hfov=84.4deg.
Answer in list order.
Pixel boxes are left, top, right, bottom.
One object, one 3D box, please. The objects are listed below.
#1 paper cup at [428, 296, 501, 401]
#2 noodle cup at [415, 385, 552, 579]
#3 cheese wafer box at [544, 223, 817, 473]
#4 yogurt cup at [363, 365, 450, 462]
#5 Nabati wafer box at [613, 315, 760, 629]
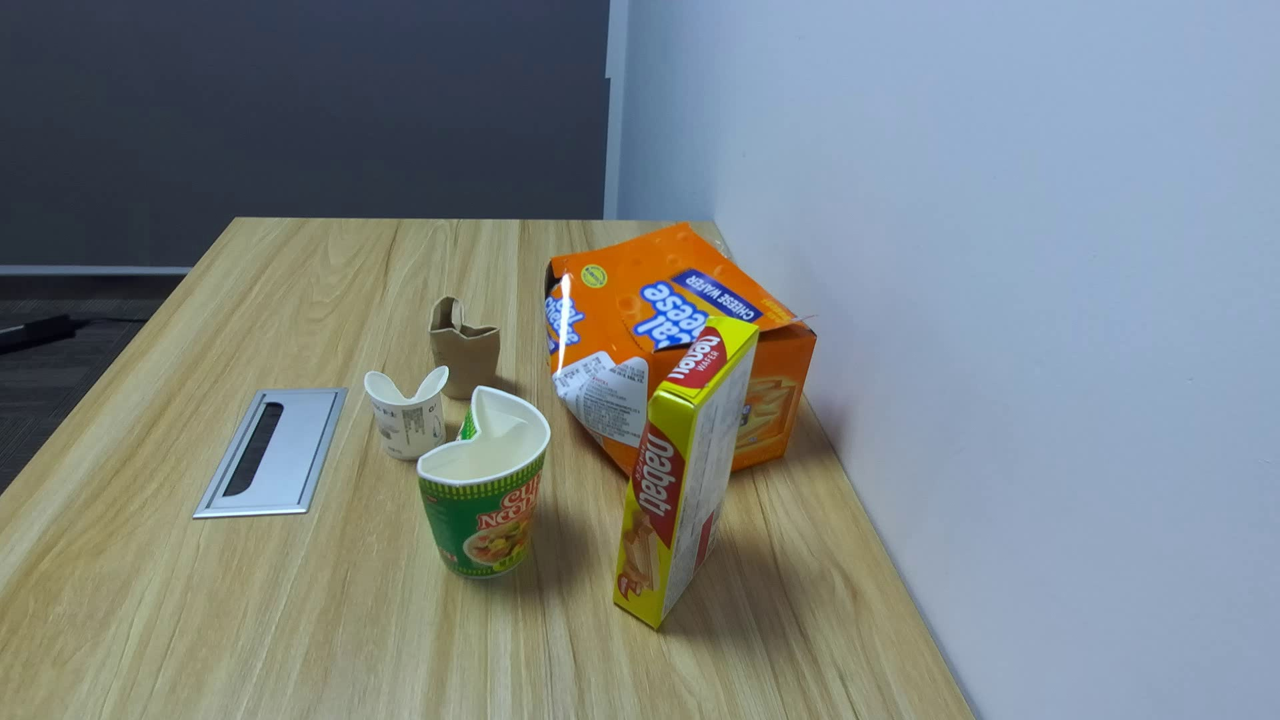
[{"bbox_3d":[-0.163,-0.010,0.664,0.058,0.083,0.066,1,36,-11],"label":"paper cup"},{"bbox_3d":[-0.111,0.094,0.498,0.086,0.109,0.094,25,39,26],"label":"noodle cup"},{"bbox_3d":[0.013,-0.011,0.637,0.192,0.145,0.218,-14,39,-25],"label":"cheese wafer box"},{"bbox_3d":[-0.192,0.044,0.595,0.067,0.070,0.067,4,35,-3],"label":"yogurt cup"},{"bbox_3d":[0.027,0.074,0.458,0.042,0.203,0.097,24,42,22],"label":"Nabati wafer box"}]
